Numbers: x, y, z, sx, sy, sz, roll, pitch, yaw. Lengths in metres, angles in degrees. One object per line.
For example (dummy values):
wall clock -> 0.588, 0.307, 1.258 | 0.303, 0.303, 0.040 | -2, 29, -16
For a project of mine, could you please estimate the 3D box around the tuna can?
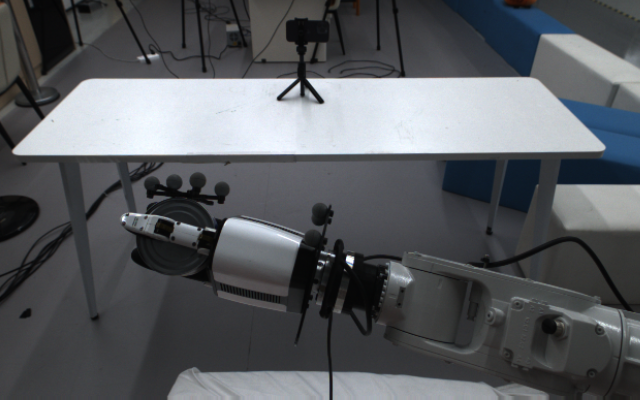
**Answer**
tuna can -> -0.154, 0.042, 0.537 | 0.085, 0.034, 0.085 | 0, 77, -1
